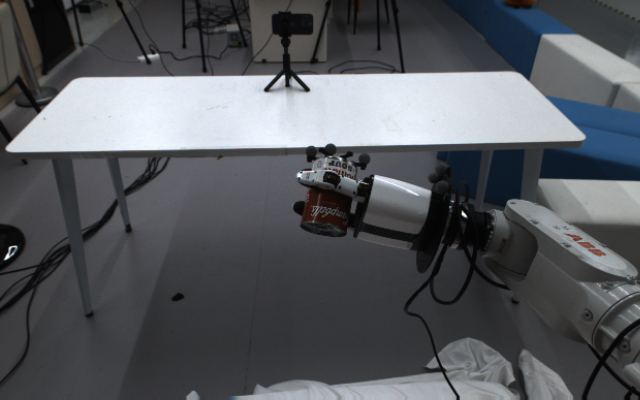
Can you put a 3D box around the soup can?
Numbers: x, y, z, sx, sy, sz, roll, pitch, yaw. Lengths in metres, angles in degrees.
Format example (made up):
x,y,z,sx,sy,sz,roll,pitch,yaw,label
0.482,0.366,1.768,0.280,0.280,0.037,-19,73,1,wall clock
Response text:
x,y,z,sx,sy,sz,roll,pitch,yaw,label
0.015,-0.005,0.694,0.067,0.067,0.101,8,72,9,soup can
